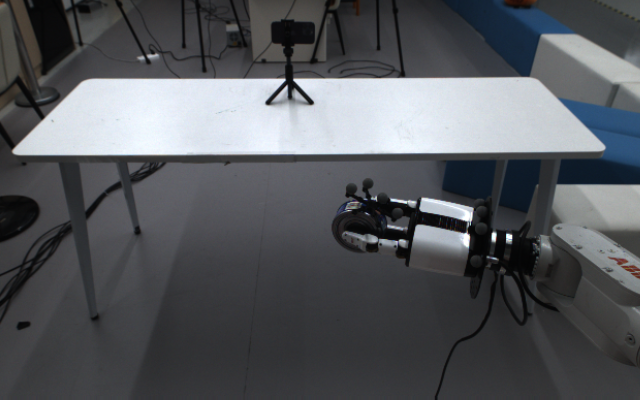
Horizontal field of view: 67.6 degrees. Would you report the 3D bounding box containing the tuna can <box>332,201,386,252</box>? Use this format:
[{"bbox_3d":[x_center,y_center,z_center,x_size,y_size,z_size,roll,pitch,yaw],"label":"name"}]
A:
[{"bbox_3d":[0.066,0.049,0.773,0.085,0.085,0.034,12,35,14],"label":"tuna can"}]
